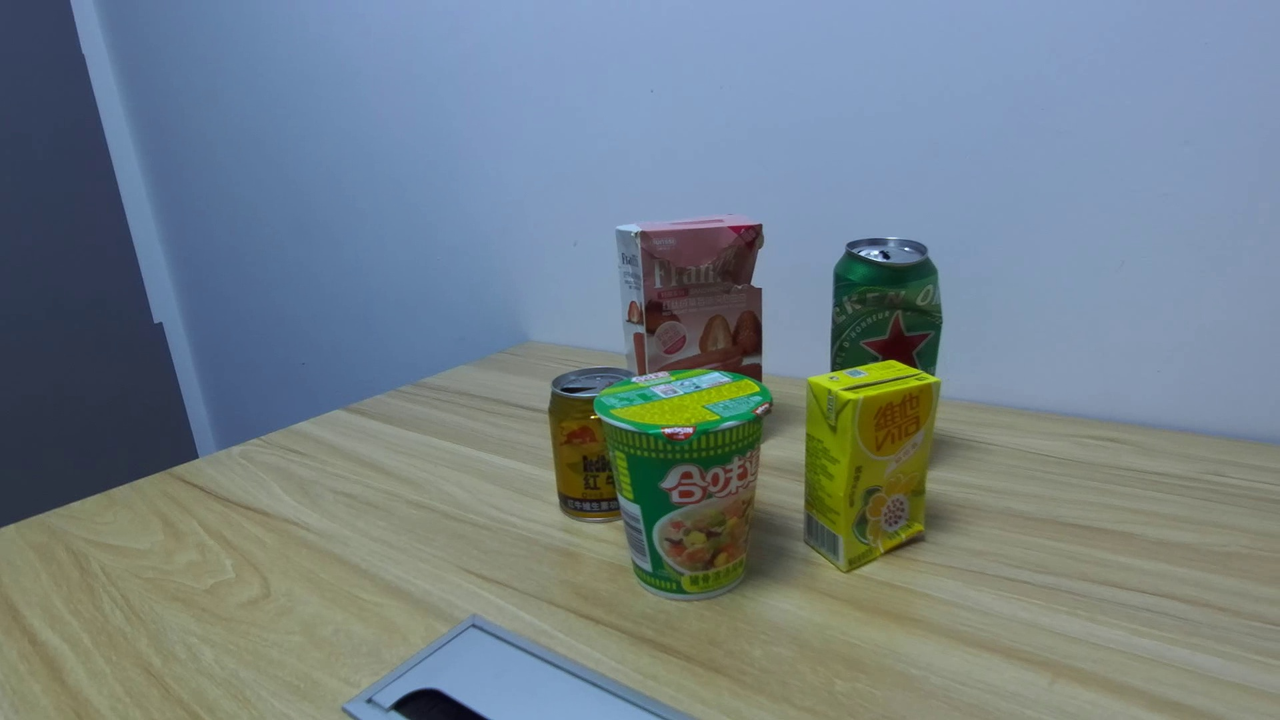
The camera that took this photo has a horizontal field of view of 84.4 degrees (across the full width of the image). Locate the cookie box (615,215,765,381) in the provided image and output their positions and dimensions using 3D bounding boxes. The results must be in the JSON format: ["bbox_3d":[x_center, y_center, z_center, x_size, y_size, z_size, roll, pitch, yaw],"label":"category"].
[{"bbox_3d":[0.042,-0.016,0.561,0.105,0.186,0.059,-8,20,-12],"label":"cookie box"}]

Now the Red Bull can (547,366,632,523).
[{"bbox_3d":[-0.029,0.057,0.501,0.068,0.093,0.068,-3,17,1],"label":"Red Bull can"}]

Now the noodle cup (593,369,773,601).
[{"bbox_3d":[0.025,0.070,0.402,0.097,0.110,0.097,-2,19,1],"label":"noodle cup"}]

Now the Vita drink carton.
[{"bbox_3d":[0.139,0.060,0.417,0.077,0.109,0.043,-10,18,-21],"label":"Vita drink carton"}]
